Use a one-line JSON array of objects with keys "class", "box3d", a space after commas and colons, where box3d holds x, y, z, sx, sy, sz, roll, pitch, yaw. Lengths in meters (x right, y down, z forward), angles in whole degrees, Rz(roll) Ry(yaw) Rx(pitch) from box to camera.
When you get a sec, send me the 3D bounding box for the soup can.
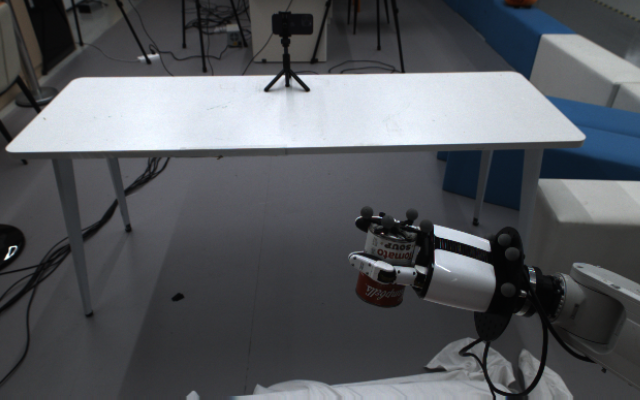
[{"class": "soup can", "box3d": [0.092, 0.086, 0.666, 0.067, 0.101, 0.067, 9, 19, -3]}]
